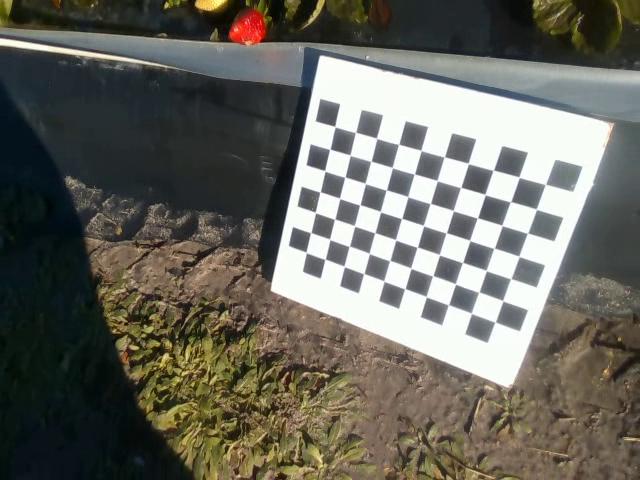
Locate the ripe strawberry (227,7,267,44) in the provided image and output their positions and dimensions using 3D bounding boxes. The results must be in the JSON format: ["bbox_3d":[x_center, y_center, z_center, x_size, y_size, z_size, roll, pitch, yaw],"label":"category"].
[{"bbox_3d":[-0.070,-0.191,0.619,0.036,0.038,0.045,19,32,26],"label":"ripe strawberry"}]
